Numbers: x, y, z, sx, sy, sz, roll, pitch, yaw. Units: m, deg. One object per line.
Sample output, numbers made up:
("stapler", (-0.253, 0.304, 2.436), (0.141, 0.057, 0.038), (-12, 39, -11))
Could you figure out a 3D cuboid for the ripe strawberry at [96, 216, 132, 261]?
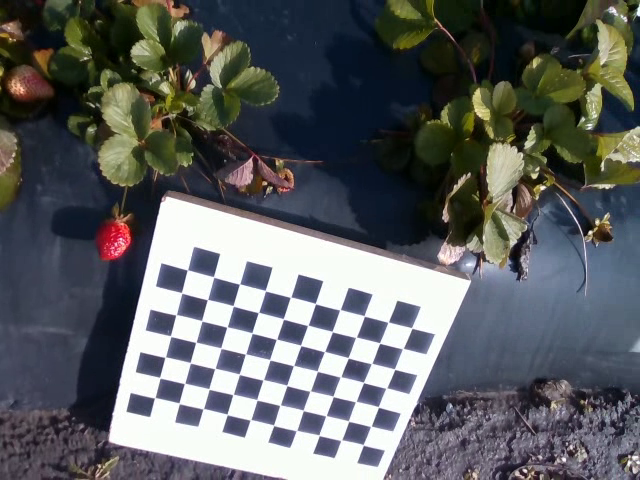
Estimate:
("ripe strawberry", (-0.160, 0.003, 0.440), (0.034, 0.038, 0.033), (14, -32, -7))
